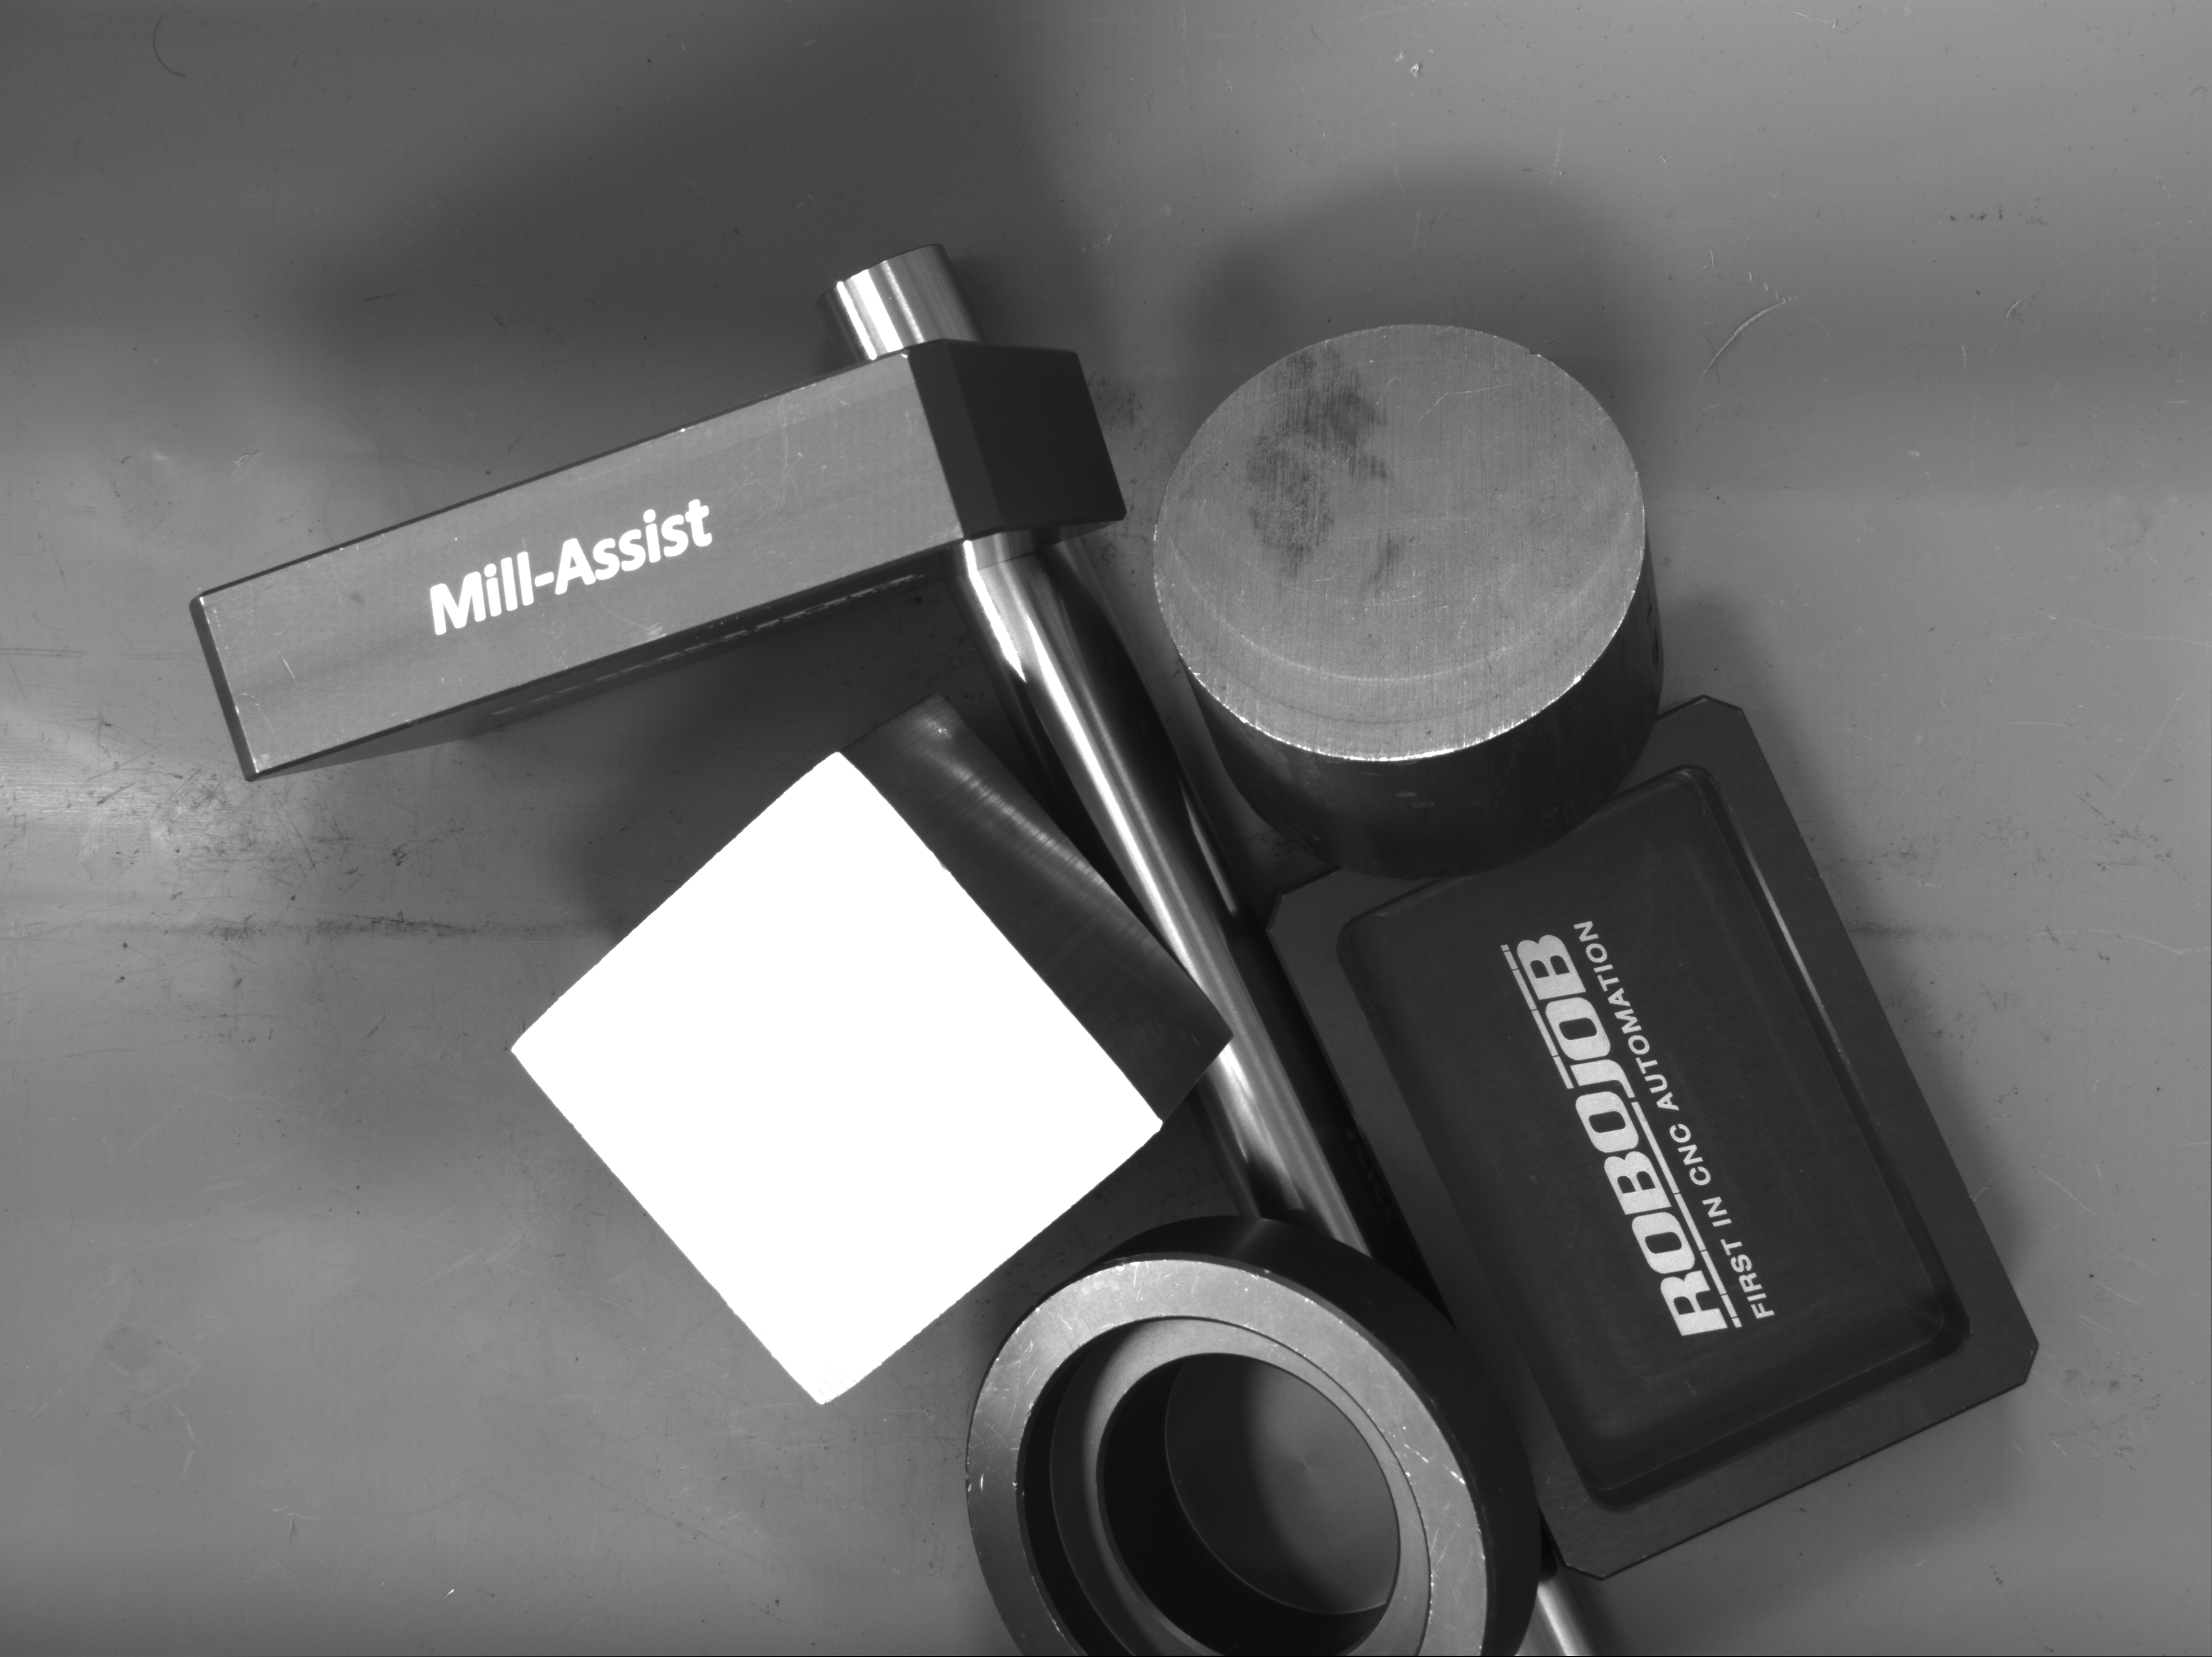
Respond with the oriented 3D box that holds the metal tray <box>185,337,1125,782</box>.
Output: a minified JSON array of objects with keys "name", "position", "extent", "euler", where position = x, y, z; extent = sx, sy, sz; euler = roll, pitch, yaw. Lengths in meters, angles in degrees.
[{"name":"metal tray","position":[-0.071,-0.044,0.598],"extent":[0.130,0.090,0.030],"euler":[-17,92,15]}]

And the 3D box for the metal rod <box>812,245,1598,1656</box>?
[{"name":"metal rod","position":[0.023,0.039,0.644],"extent":[0.025,0.025,0.300],"euler":[-25,90,0]}]

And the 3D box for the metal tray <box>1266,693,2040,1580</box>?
[{"name":"metal tray","position":[0.094,0.053,0.642],"extent":[0.090,0.030,0.130],"euler":[-25,90,0]}]

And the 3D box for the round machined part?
[{"name":"round machined part","position":[0.028,0.112,0.622],"extent":[0.098,0.042,0.098],"euler":[8,107,28]}]

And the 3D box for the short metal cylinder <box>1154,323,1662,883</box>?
[{"name":"short metal cylinder","position":[0.052,-0.037,0.618],"extent":[0.080,0.050,0.080],"euler":[-5,66,10]}]

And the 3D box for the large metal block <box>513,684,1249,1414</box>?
[{"name":"large metal block","position":[-0.036,0.036,0.614],"extent":[0.080,0.050,0.080],"euler":[-42,90,18]}]
